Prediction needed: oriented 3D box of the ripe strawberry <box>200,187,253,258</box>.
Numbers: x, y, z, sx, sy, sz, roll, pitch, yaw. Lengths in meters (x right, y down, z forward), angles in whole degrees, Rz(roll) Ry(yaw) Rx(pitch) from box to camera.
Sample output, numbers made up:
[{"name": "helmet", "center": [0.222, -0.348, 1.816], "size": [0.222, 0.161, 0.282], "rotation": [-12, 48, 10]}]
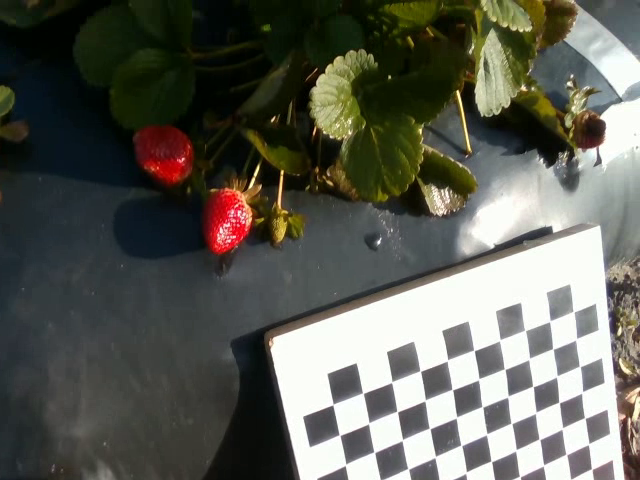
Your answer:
[{"name": "ripe strawberry", "center": [-0.066, -0.013, 0.528], "size": [0.043, 0.053, 0.038], "rotation": [32, -47, -24]}]

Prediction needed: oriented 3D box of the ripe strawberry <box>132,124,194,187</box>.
[{"name": "ripe strawberry", "center": [-0.115, -0.062, 0.538], "size": [0.039, 0.048, 0.054], "rotation": [9, 6, 42]}]
